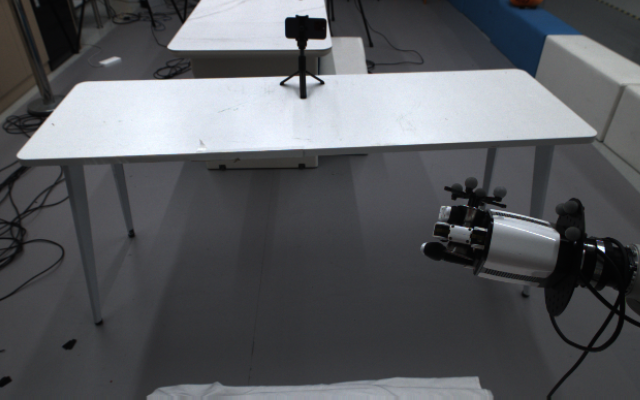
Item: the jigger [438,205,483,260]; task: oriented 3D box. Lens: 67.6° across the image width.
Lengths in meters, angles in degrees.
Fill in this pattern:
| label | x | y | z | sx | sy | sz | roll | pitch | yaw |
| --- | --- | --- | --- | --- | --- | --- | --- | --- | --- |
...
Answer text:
| label | x | y | z | sx | sy | sz | roll | pitch | yaw |
| --- | --- | --- | --- | --- | --- | --- | --- | --- | --- |
| jigger | 0.203 | 0.043 | 0.673 | 0.043 | 0.071 | 0.043 | 19 | -6 | 2 |
